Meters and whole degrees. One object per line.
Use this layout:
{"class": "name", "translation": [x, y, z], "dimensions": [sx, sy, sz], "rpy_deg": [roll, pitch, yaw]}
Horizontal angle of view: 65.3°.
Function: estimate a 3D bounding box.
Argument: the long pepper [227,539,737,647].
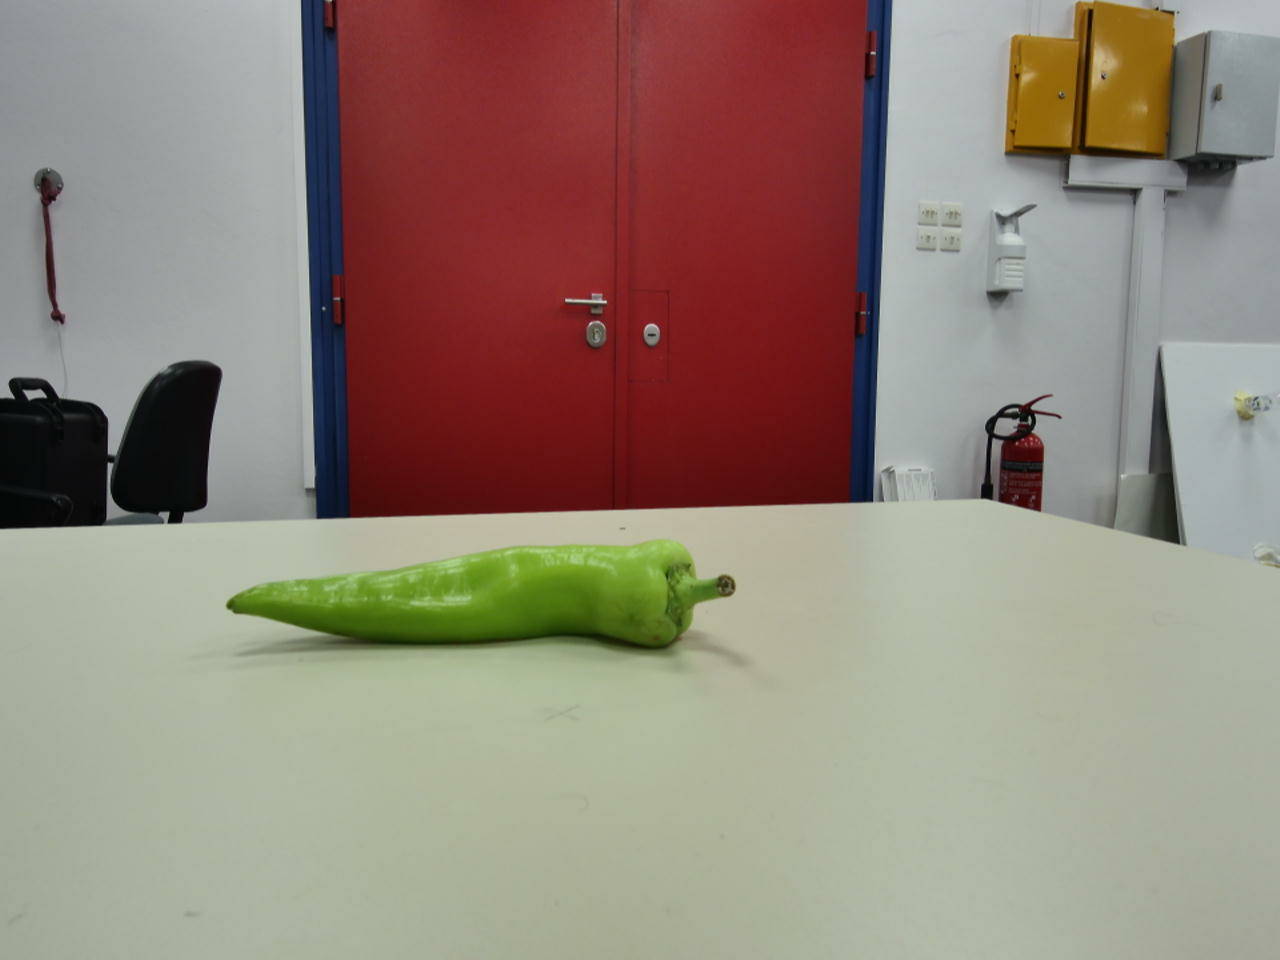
{"class": "long pepper", "translation": [-0.063, 0.048, 0.428], "dimensions": [0.205, 0.045, 0.065], "rpy_deg": [0, 4, 3]}
